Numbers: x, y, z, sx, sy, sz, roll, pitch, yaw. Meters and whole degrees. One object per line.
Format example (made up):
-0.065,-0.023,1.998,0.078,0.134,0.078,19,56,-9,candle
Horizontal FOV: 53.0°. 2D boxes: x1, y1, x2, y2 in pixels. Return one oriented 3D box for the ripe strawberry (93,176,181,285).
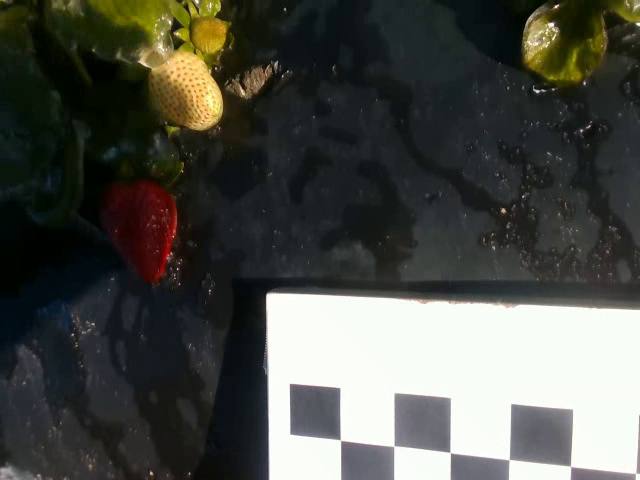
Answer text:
-0.091,-0.002,0.300,0.041,0.052,0.040,-17,-6,16,ripe strawberry
